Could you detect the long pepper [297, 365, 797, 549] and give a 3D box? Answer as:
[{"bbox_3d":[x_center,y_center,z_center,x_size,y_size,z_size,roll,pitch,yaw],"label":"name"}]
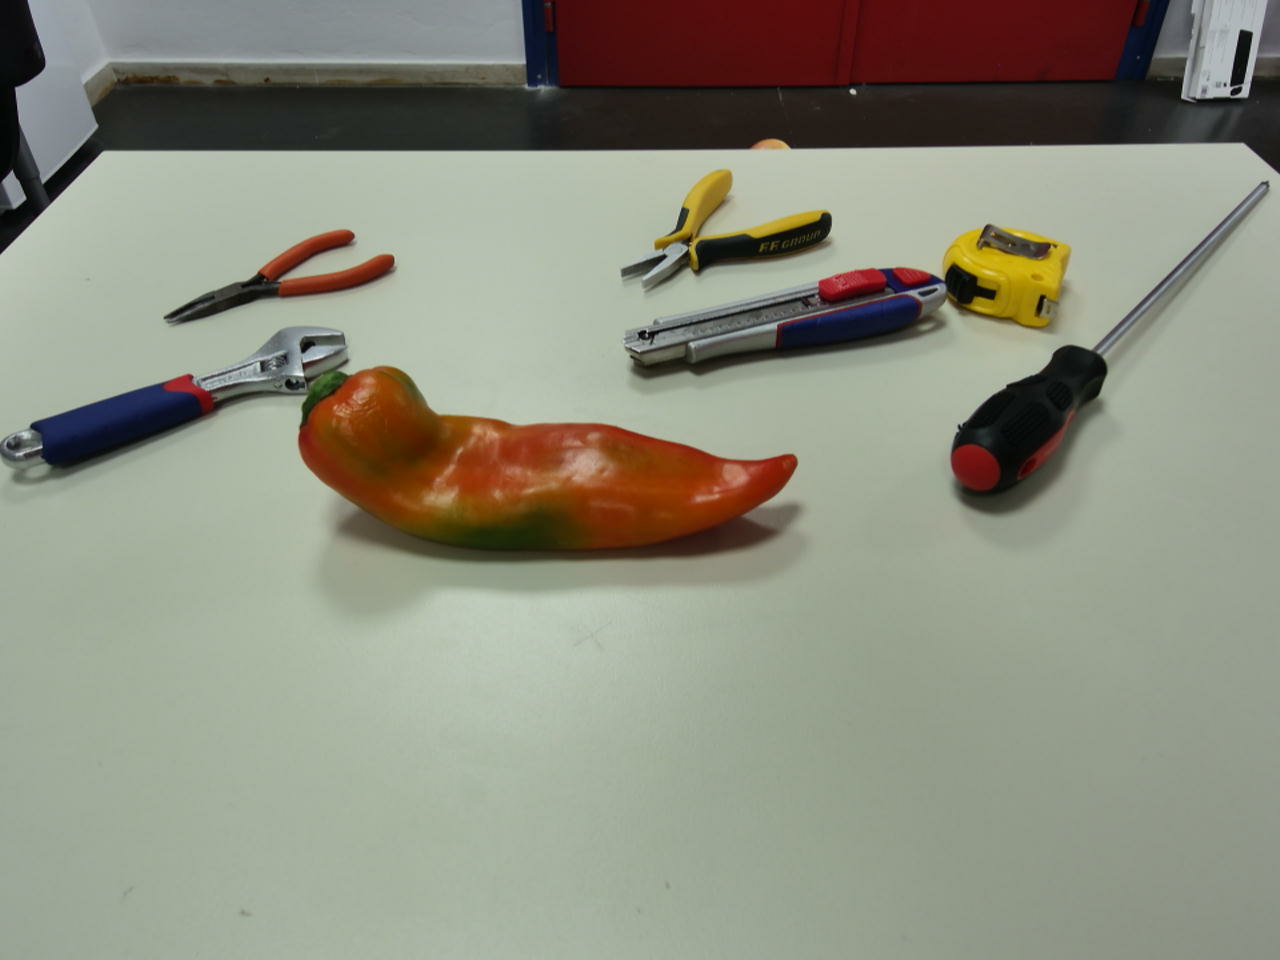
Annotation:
[{"bbox_3d":[-0.036,-0.011,0.402,0.199,0.065,0.066,3,39,4],"label":"long pepper"}]
